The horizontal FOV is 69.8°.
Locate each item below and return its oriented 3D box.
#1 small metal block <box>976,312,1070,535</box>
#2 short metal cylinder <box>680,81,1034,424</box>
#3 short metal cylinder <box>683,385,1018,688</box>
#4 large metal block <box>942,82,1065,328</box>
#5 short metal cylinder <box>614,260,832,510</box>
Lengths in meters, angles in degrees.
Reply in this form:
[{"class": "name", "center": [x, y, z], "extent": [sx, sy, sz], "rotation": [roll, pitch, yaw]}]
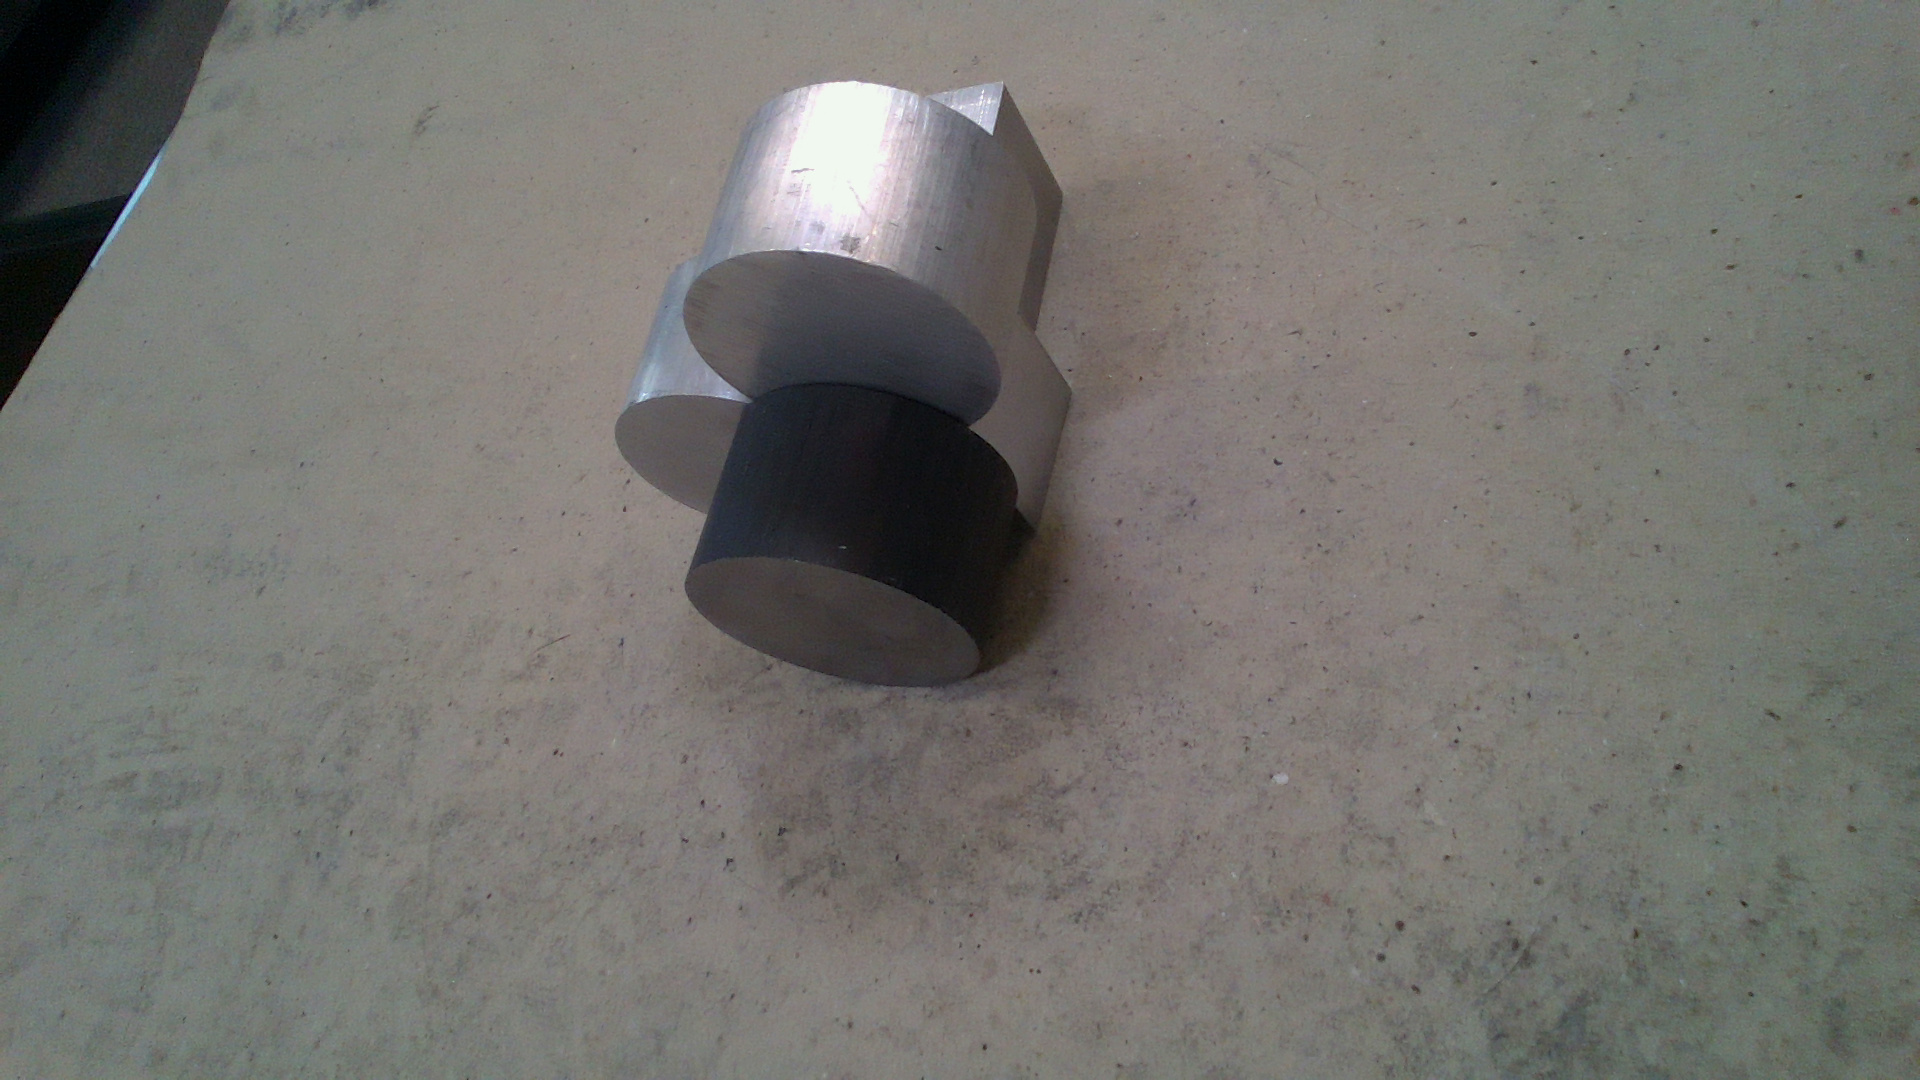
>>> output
[{"class": "small metal block", "center": [0.006, -0.035, 0.399], "extent": [0.025, 0.050, 0.050], "rotation": [1, 62, 29]}, {"class": "short metal cylinder", "center": [-0.025, -0.068, 0.350], "extent": [0.080, 0.080, 0.050], "rotation": [-2, 61, 27]}, {"class": "short metal cylinder", "center": [-0.029, 0.001, 0.374], "extent": [0.080, 0.080, 0.050], "rotation": [-1, 61, 28]}, {"class": "large metal block", "center": [-0.018, -0.094, 0.447], "extent": [0.080, 0.050, 0.080], "rotation": [-2, 61, 28]}, {"class": "short metal cylinder", "center": [-0.058, -0.043, 0.417], "extent": [0.080, 0.080, 0.050], "rotation": [-2, 61, 27]}]
